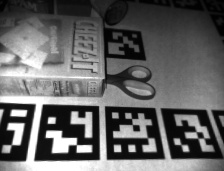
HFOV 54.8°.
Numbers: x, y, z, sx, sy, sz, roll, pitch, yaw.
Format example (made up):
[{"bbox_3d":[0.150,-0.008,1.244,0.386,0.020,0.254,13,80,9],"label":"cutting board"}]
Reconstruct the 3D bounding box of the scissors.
[{"bbox_3d":[-0.024,-0.009,0.433,0.204,0.016,0.087,-1,60,-12],"label":"scissors"}]

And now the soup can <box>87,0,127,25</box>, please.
[{"bbox_3d":[-0.020,-0.211,0.552,0.068,0.068,0.101,-32,64,-26],"label":"soup can"}]

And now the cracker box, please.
[{"bbox_3d":[-0.135,-0.061,0.406,0.214,0.072,0.163,-3,58,-9],"label":"cracker box"}]

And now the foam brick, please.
[{"bbox_3d":[-0.101,-0.192,0.524,0.078,0.051,0.052,-6,60,-15],"label":"foam brick"}]

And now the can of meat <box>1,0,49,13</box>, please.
[{"bbox_3d":[-0.191,-0.180,0.475,0.102,0.084,0.058,15,57,-2],"label":"can of meat"}]
